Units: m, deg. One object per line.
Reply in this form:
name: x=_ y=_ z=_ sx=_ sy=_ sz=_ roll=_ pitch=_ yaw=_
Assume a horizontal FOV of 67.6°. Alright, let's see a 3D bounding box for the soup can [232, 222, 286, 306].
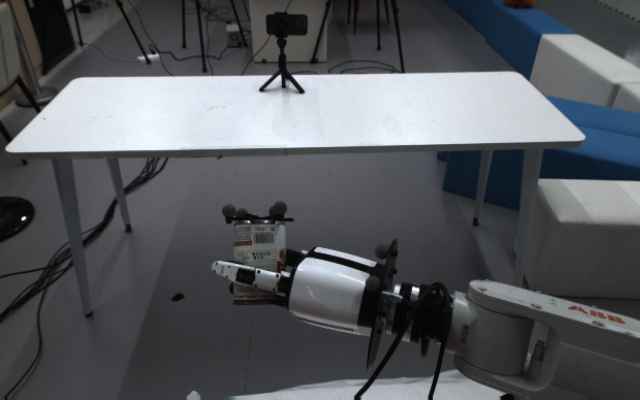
soup can: x=-0.075 y=0.080 z=0.610 sx=0.067 sy=0.101 sz=0.067 roll=-1 pitch=-10 yaw=0
